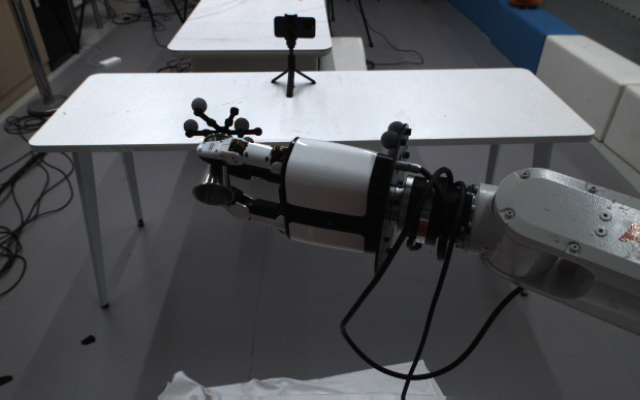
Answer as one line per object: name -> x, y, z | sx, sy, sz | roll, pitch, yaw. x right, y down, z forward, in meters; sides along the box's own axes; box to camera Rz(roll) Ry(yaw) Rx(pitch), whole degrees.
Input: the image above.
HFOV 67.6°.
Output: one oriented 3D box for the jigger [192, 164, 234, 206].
jigger -> -0.111, -0.036, 0.527 | 0.043, 0.043, 0.071 | 2, 59, -1
